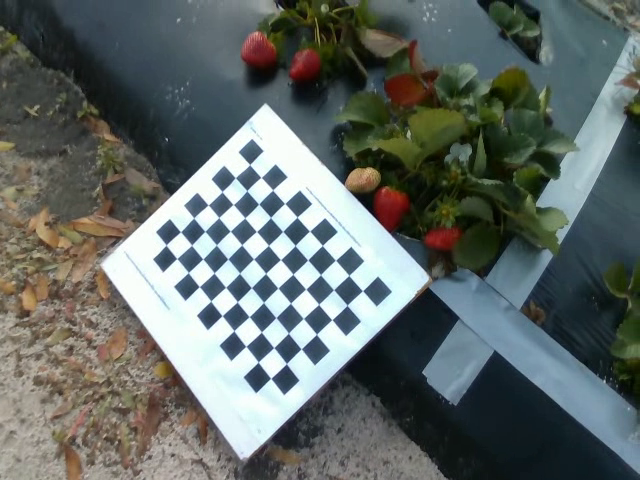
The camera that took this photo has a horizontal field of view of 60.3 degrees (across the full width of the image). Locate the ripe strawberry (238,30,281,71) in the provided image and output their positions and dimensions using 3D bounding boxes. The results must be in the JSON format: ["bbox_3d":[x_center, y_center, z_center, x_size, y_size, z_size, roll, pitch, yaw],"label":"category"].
[{"bbox_3d":[-0.090,-0.242,0.723,0.050,0.045,0.061,36,52,20],"label":"ripe strawberry"}]

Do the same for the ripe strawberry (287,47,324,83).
[{"bbox_3d":[-0.027,-0.225,0.712,0.042,0.034,0.053,30,54,20],"label":"ripe strawberry"}]
